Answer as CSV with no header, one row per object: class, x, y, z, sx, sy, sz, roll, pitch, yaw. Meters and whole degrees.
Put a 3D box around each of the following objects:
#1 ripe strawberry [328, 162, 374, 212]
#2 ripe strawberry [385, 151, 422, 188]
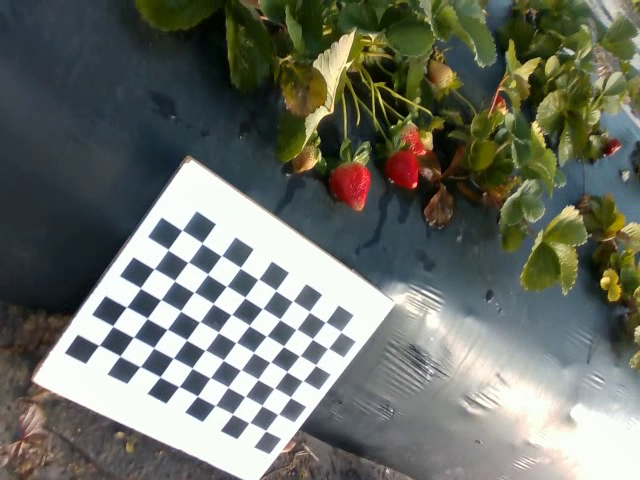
ripe strawberry,0.037,-0.057,0.699,0.050,0.065,0.050,-6,-35,-13
ripe strawberry,0.099,-0.080,0.754,0.045,0.055,0.042,-28,-27,-5
